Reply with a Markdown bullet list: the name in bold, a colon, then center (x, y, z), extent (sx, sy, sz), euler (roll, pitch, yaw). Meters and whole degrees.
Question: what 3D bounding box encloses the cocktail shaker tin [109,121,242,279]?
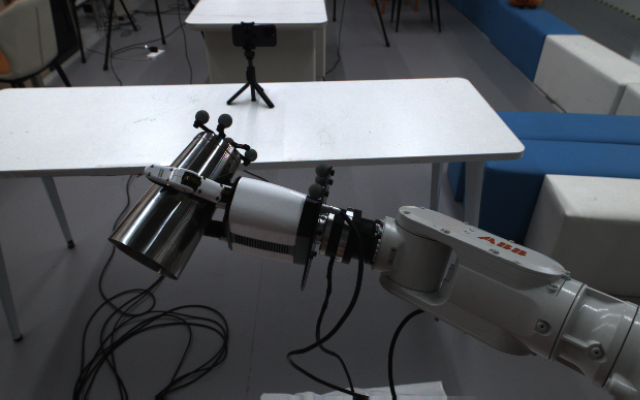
- **cocktail shaker tin**: center (-0.166, -0.002, 0.593), extent (0.093, 0.093, 0.170), euler (18, 66, 22)
